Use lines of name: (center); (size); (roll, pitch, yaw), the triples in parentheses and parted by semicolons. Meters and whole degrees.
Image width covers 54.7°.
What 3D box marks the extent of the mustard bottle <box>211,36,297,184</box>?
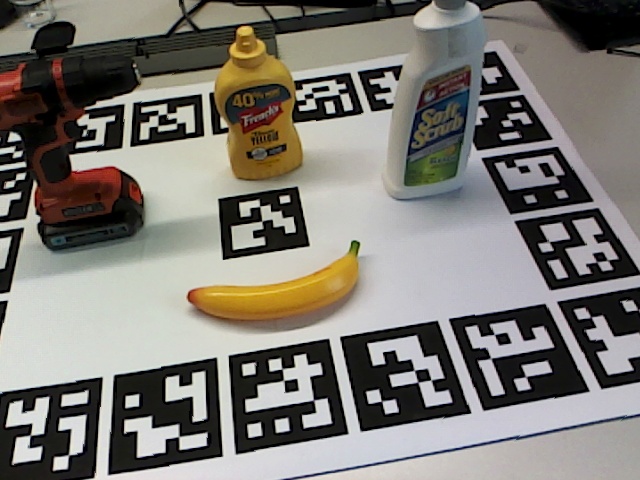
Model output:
mustard bottle: (-0.080, -0.155, 0.745); (0.096, 0.191, 0.059); (-14, 50, -10)

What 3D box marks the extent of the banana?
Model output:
banana: (-0.046, 0.046, 0.653); (0.197, 0.038, 0.074); (-15, 51, -5)

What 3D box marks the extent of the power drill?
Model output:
power drill: (-0.260, -0.112, 0.679); (0.184, 0.186, 0.057); (-15, 50, -4)

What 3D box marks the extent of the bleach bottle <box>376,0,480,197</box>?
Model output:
bleach bottle: (0.117, -0.158, 0.690); (0.102, 0.250, 0.068); (-2, 49, 1)
